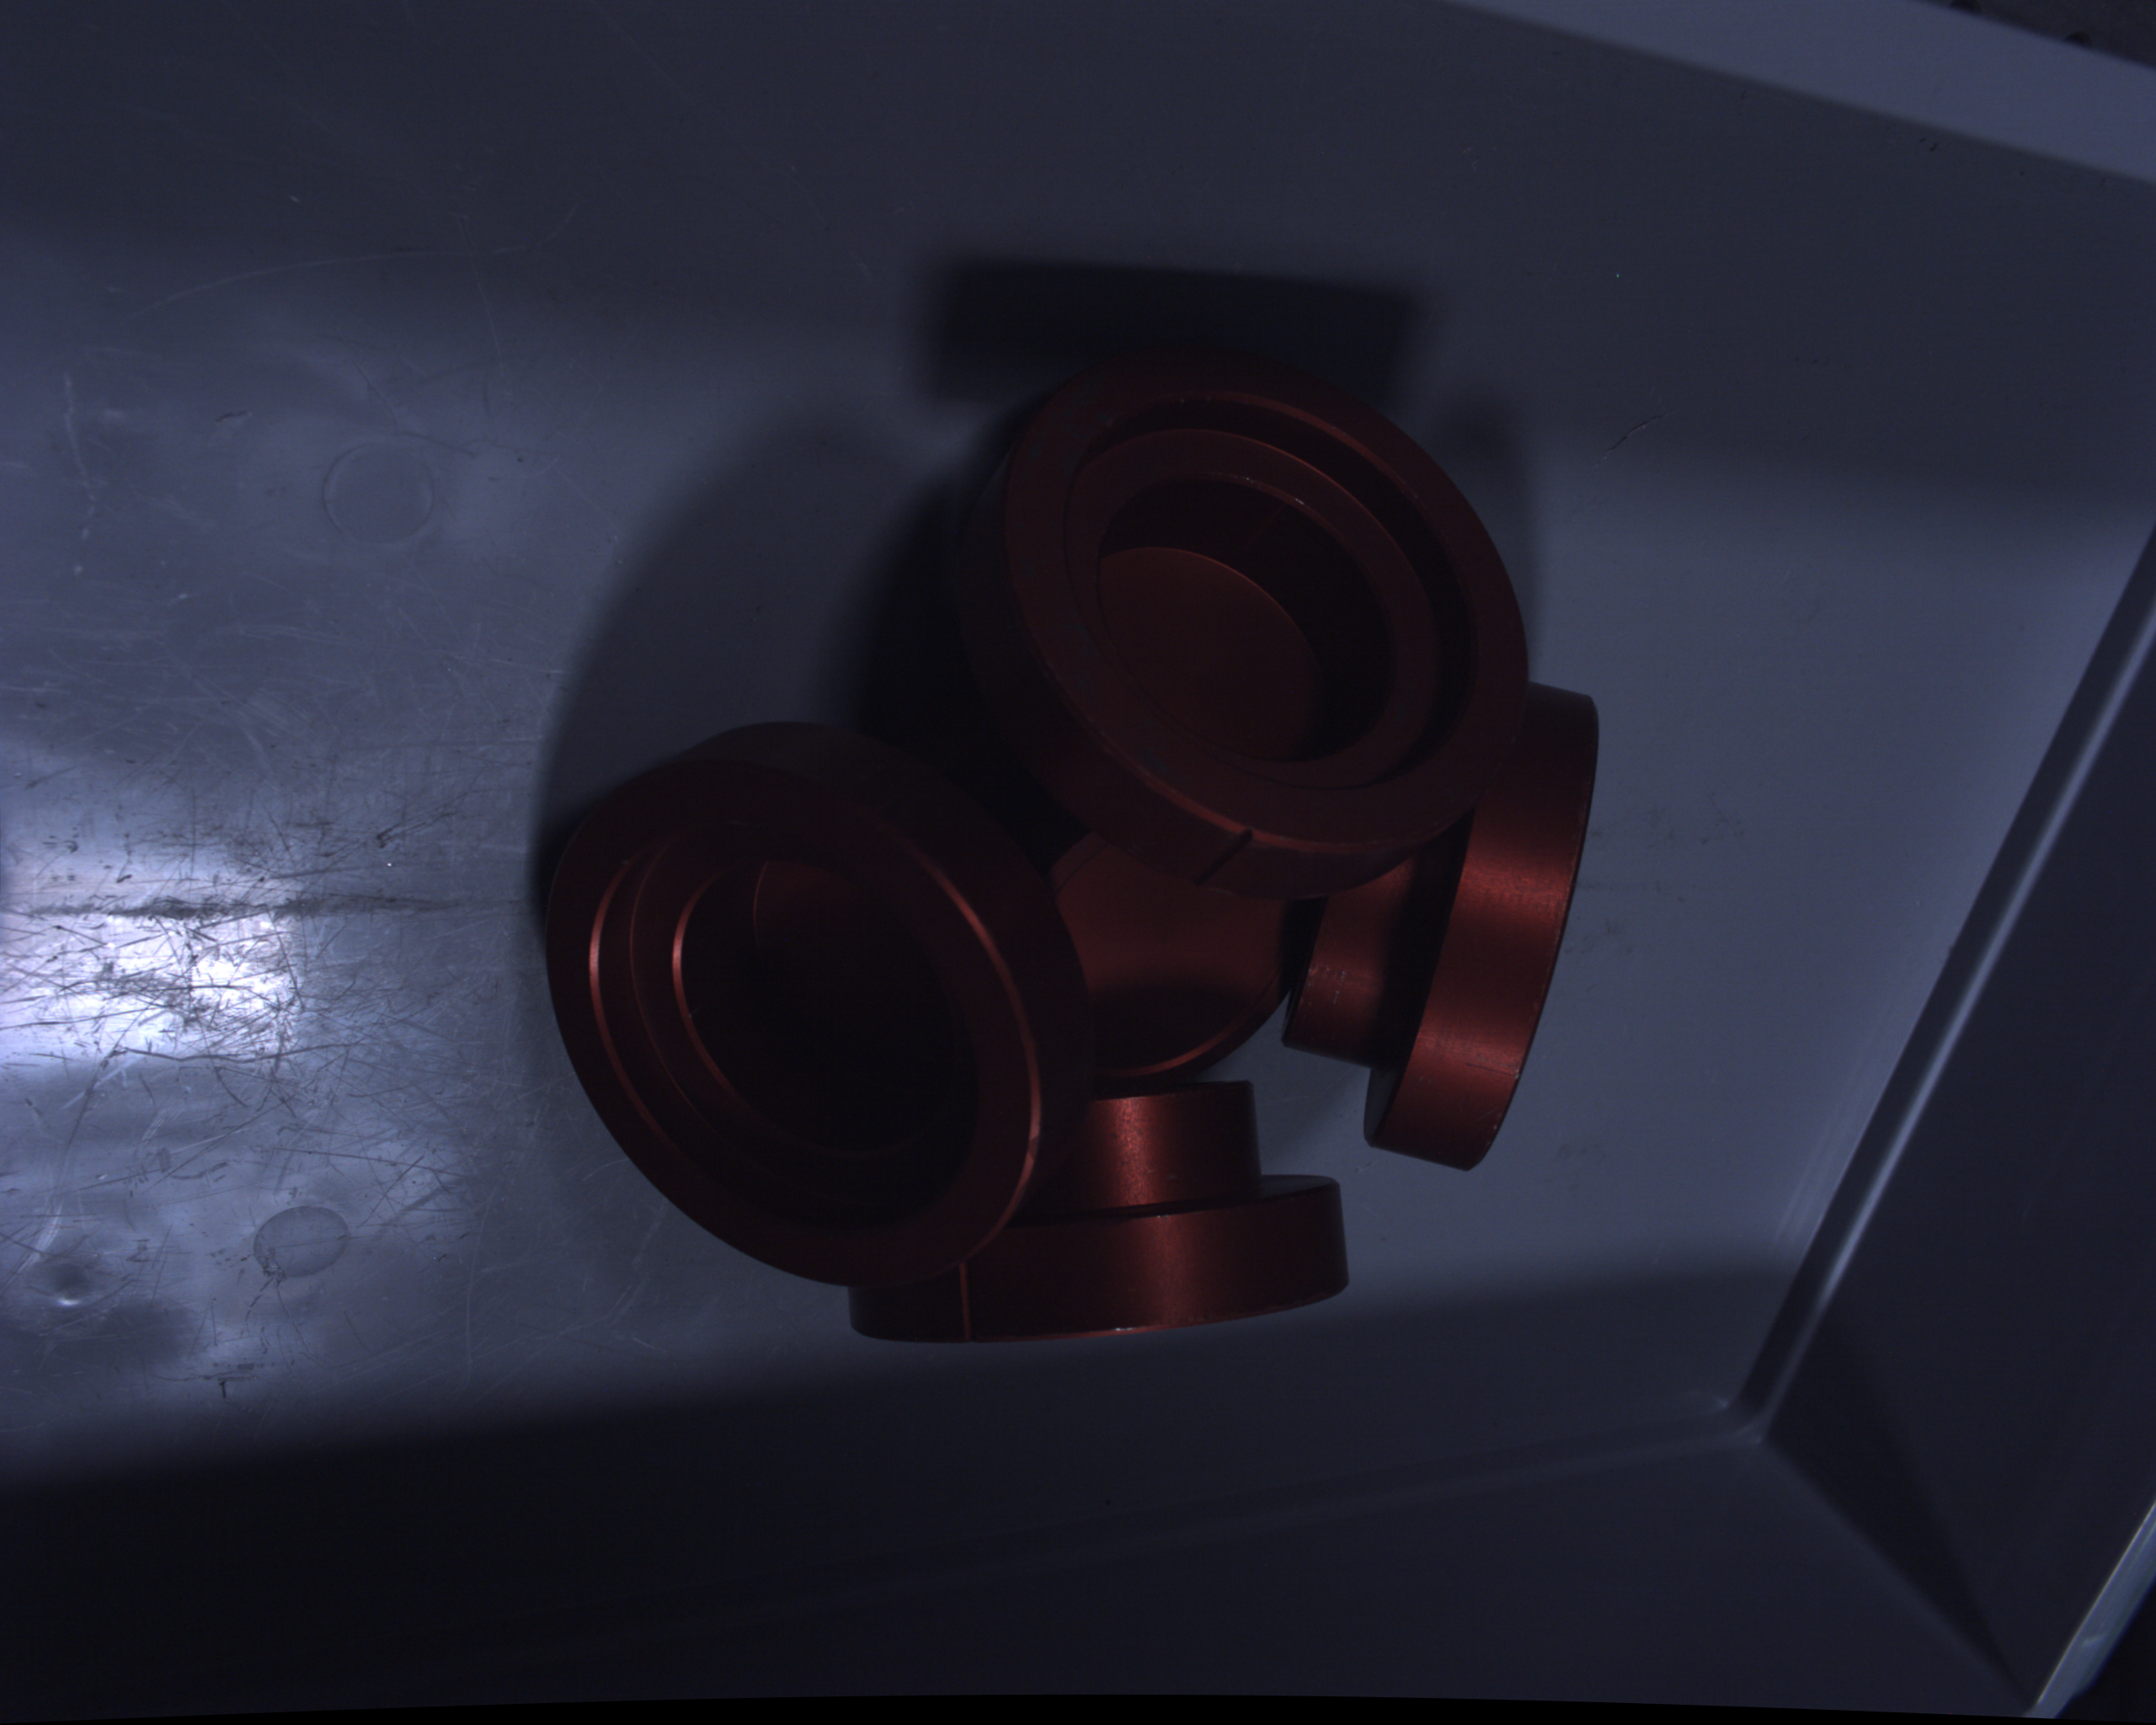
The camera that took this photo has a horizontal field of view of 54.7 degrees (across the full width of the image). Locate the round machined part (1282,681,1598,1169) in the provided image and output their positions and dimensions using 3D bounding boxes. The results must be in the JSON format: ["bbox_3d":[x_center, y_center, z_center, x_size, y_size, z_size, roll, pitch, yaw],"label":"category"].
[{"bbox_3d":[0.069,0.009,0.418,0.042,0.098,0.097,14,116,5],"label":"round machined part"}]

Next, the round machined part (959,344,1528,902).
[{"bbox_3d":[0.025,-0.038,0.363,0.099,0.098,0.042,-4,158,-27],"label":"round machined part"}]

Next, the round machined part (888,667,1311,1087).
[{"bbox_3d":[0.007,0.006,0.404,0.099,0.042,0.097,-14,125,-21],"label":"round machined part"}]

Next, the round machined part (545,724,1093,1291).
[{"bbox_3d":[-0.041,0.022,0.364,0.042,0.098,0.097,-39,144,-54],"label":"round machined part"}]

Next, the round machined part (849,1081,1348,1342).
[{"bbox_3d":[0.002,0.067,0.416,0.099,0.098,0.042,-2,83,-28],"label":"round machined part"}]
